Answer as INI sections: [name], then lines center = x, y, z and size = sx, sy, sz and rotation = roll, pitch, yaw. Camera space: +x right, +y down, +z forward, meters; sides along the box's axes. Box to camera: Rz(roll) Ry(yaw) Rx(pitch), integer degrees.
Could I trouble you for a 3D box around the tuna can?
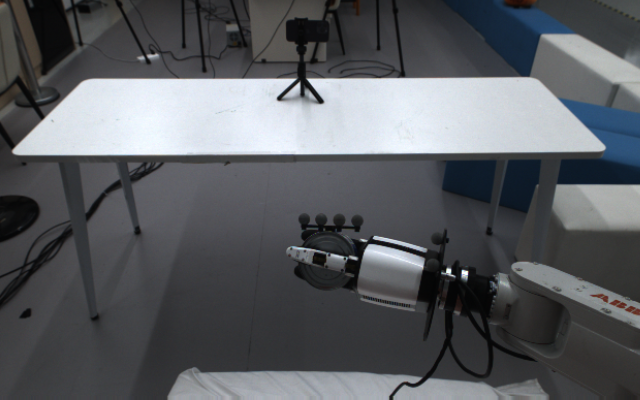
[tuna can]
center = 0.016, 0.088, 0.706
size = 0.085, 0.085, 0.034
rotation = 12, 0, 14
